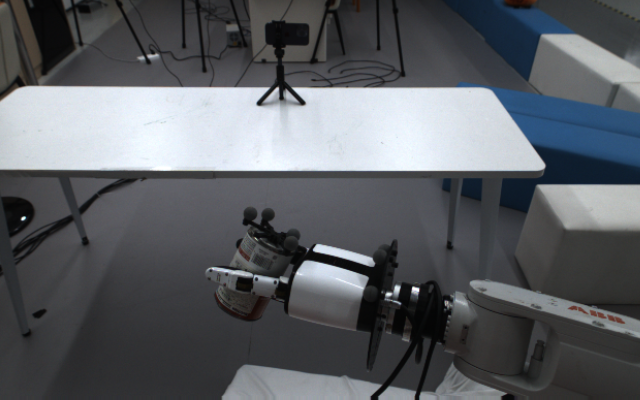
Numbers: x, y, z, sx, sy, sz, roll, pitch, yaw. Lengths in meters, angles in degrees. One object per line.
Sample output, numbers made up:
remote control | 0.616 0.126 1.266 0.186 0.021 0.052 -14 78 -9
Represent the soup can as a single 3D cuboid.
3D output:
soup can | -0.080 0.093 0.612 0.067 0.101 0.067 27 10 -5
